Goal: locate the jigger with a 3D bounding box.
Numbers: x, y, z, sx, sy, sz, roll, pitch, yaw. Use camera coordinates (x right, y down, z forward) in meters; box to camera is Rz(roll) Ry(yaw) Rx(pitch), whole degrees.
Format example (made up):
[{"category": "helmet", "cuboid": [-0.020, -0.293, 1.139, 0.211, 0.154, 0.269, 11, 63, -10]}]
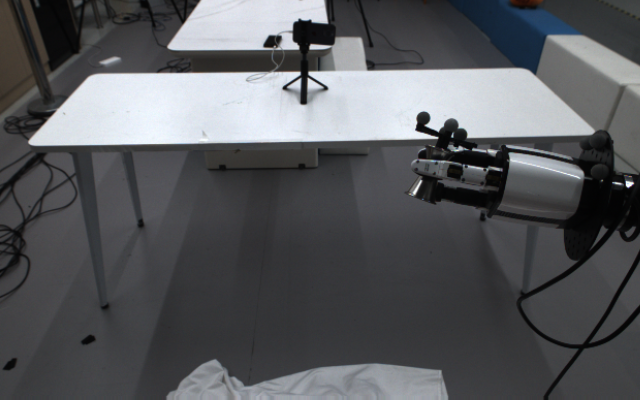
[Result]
[{"category": "jigger", "cuboid": [0.140, -0.034, 0.623, 0.043, 0.071, 0.043, 22, 5, -2]}]
